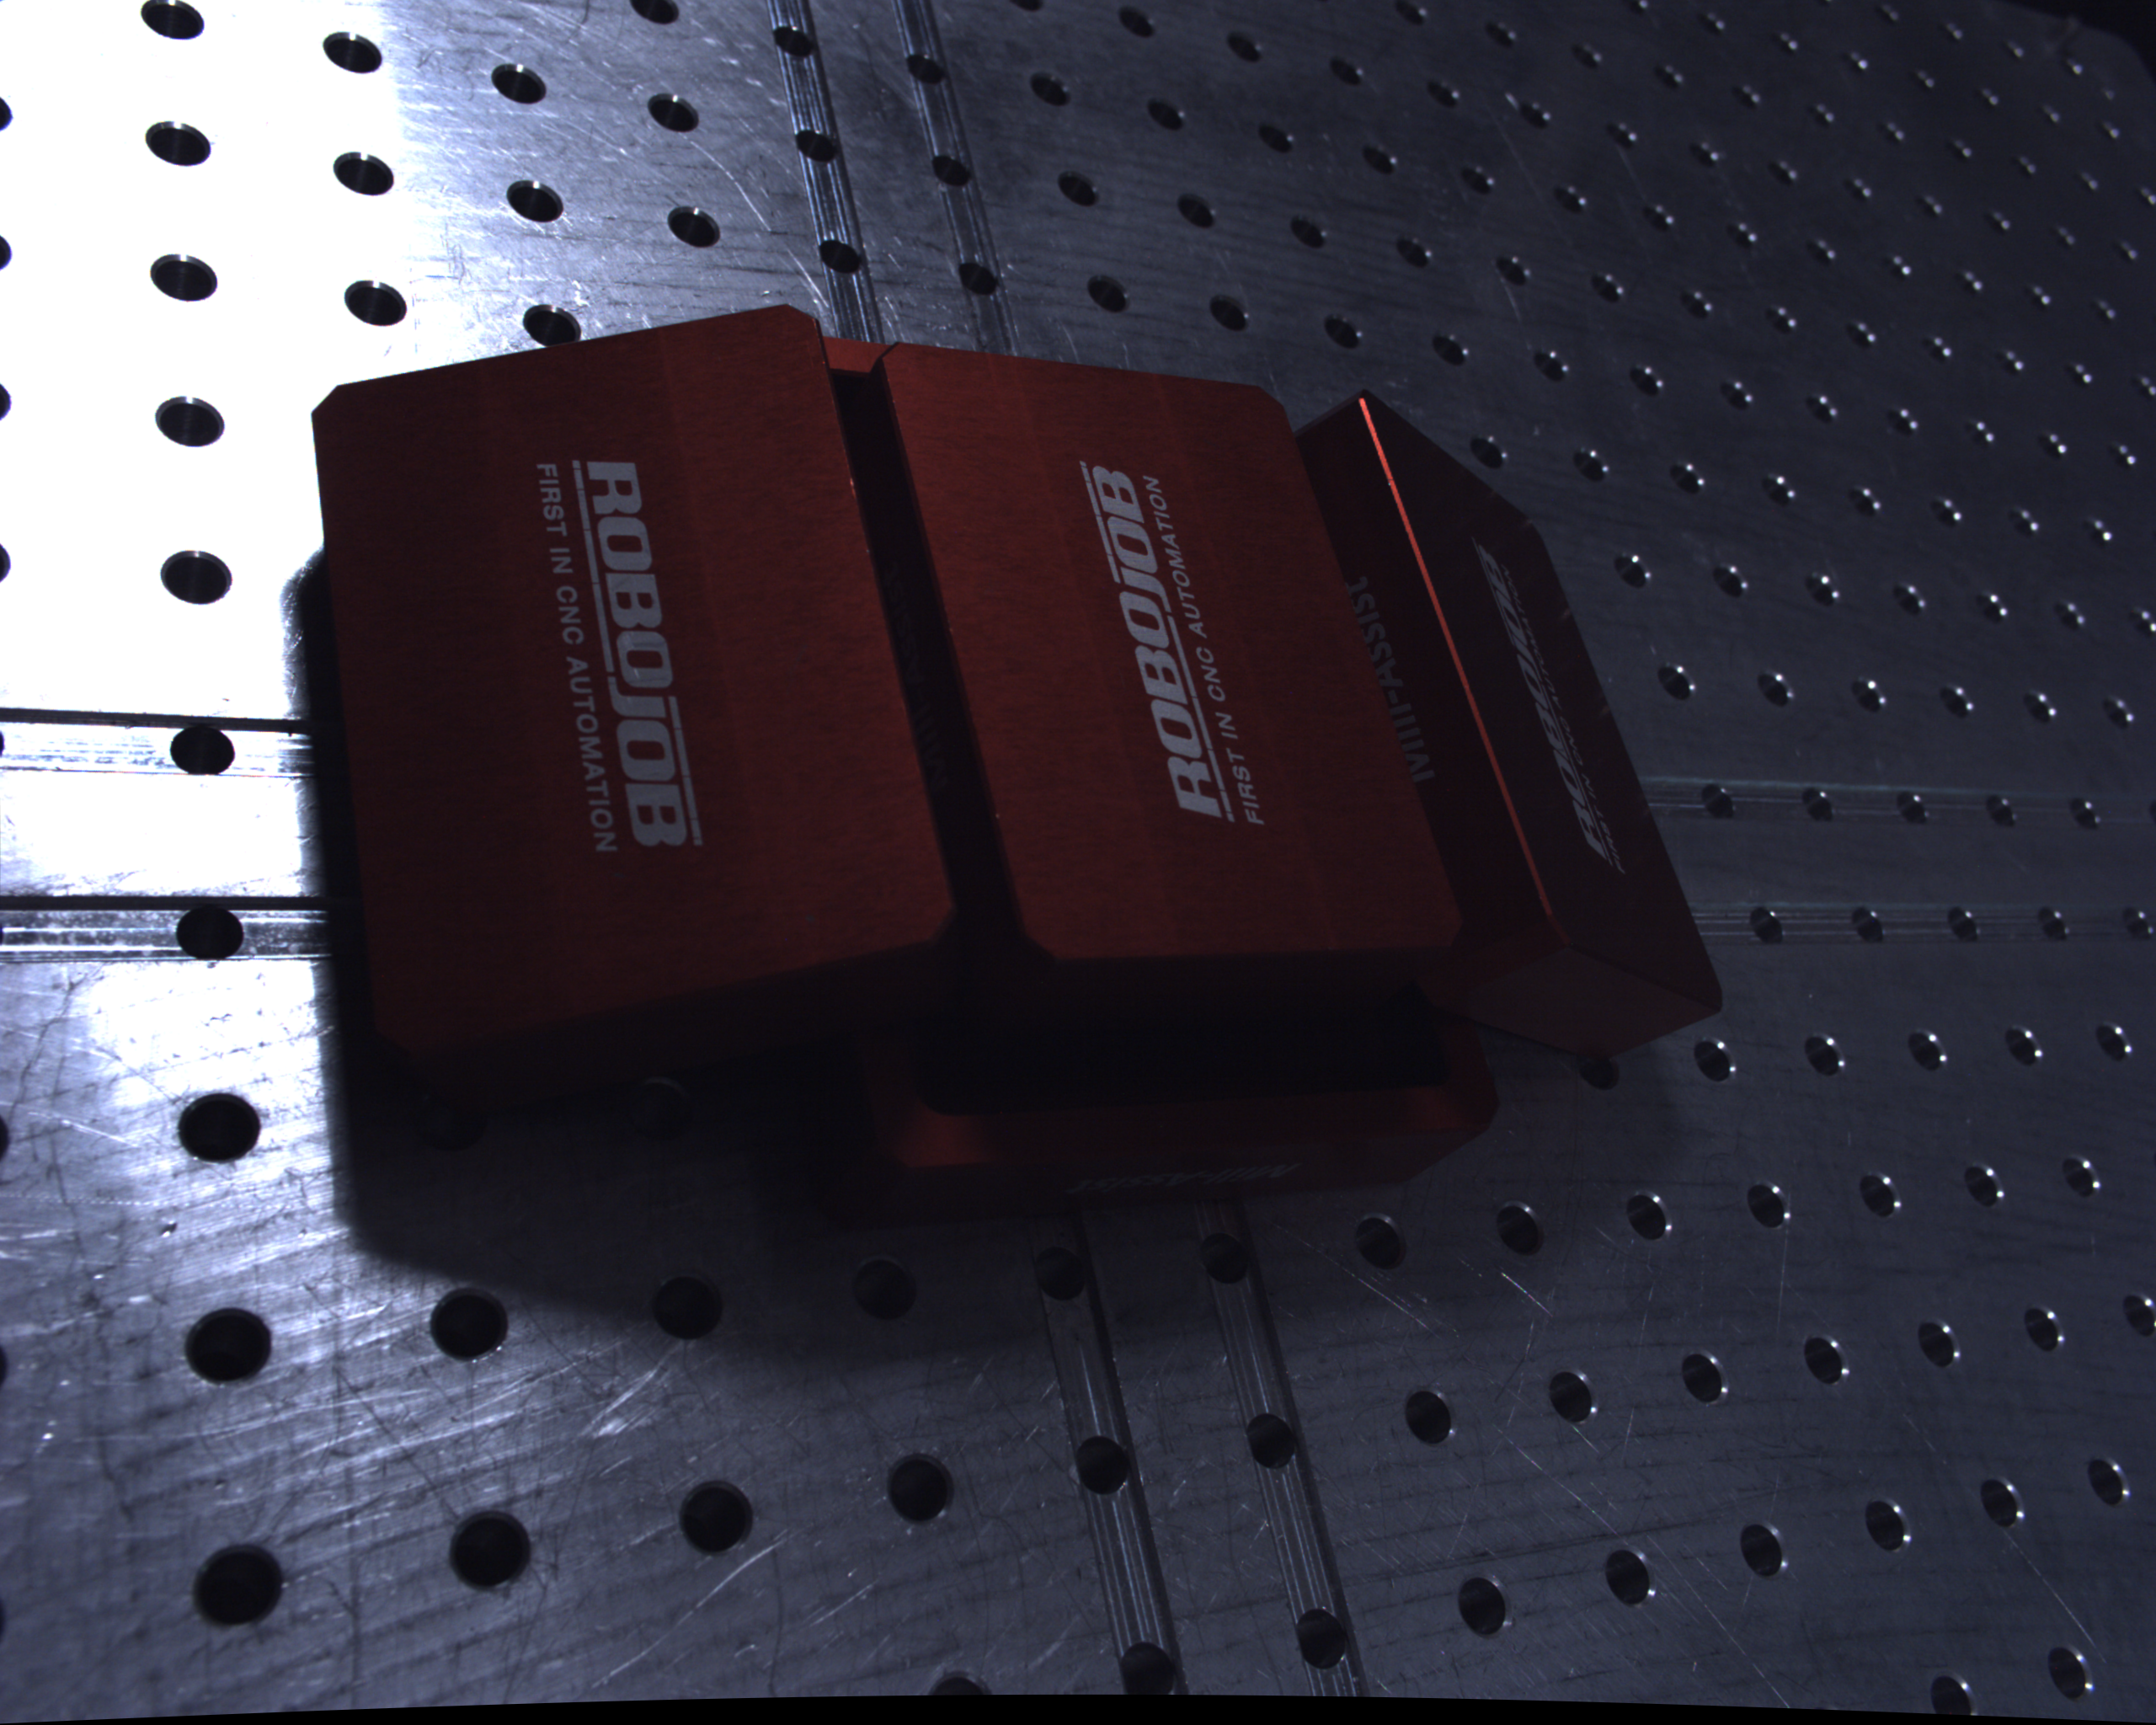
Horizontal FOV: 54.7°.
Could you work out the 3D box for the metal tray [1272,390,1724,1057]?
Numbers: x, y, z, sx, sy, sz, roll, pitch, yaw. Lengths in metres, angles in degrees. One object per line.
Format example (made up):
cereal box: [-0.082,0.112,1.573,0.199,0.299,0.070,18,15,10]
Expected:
metal tray: [0.088,-0.028,0.447,0.090,0.030,0.130,19,49,-51]

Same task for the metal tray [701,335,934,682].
metal tray: [-0.012,-0.061,0.437,0.131,0.030,0.090,0,62,-28]

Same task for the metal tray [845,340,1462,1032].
metal tray: [0.010,-0.035,0.394,0.091,0.030,0.130,0,62,-29]

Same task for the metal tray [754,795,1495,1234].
metal tray: [0.009,0.019,0.400,0.131,0.030,0.090,0,62,-28]

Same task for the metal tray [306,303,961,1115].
metal tray: [-0.078,-0.030,0.359,0.091,0.030,0.130,-12,66,-6]
